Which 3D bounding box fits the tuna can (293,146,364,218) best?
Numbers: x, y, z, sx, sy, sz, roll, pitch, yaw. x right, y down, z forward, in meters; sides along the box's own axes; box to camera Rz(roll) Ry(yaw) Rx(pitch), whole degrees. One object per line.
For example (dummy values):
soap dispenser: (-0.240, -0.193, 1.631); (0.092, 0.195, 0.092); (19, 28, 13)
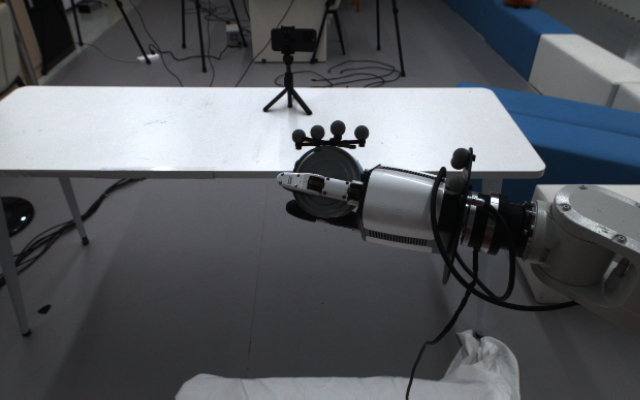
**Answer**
tuna can: (0.012, -0.022, 0.586); (0.085, 0.085, 0.034); (15, 2, 18)
